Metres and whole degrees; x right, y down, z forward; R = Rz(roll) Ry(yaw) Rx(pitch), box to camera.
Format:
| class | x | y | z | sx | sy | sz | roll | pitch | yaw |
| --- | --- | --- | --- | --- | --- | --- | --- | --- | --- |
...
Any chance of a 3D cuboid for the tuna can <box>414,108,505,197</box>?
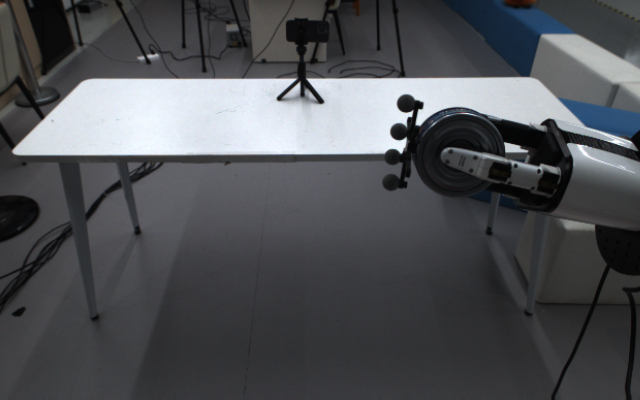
| class | x | y | z | sx | sy | sz | roll | pitch | yaw |
| --- | --- | --- | --- | --- | --- | --- | --- | --- | --- |
| tuna can | 0.137 | -0.048 | 0.479 | 0.085 | 0.085 | 0.034 | 5 | 16 | 4 |
